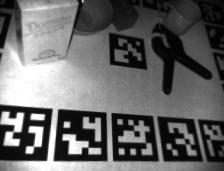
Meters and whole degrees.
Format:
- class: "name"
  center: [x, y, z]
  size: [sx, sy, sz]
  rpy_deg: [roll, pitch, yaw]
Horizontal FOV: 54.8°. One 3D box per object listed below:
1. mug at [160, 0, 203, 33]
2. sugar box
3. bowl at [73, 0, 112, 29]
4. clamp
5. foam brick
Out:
- class: "mug"
  center: [0.194, -0.216, 0.634]
  size: [0.117, 0.081, 0.093]
  rpy_deg: [32, 60, -7]
- class: "sugar box"
  center: [-0.140, -0.110, 0.416]
  size: [0.094, 0.175, 0.045]
  rpy_deg: [-18, 74, -26]
- class: "bowl"
  center: [-0.085, -0.197, 0.544]
  size: [0.163, 0.055, 0.161]
  rpy_deg: [8, 64, -17]
- class: "clamp"
  center: [0.157, -0.097, 0.588]
  size: [0.167, 0.036, 0.202]
  rpy_deg: [-16, 74, -23]
- class: "foam brick"
  center: [0.025, -0.204, 0.595]
  size: [0.053, 0.051, 0.077]
  rpy_deg: [-20, 75, -24]
